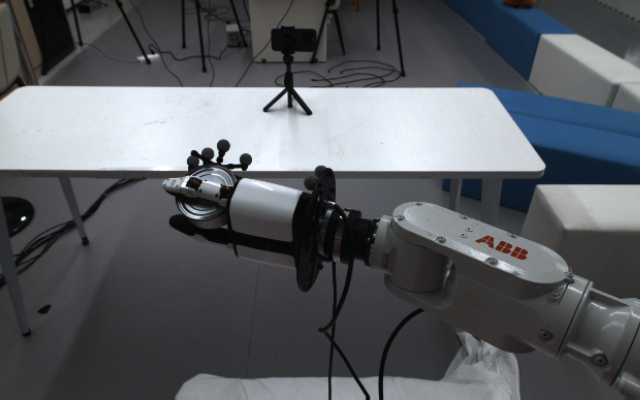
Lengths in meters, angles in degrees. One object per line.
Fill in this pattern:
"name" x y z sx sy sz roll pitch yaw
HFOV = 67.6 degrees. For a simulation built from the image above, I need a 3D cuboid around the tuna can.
"tuna can" -0.148 -0.005 0.651 0.085 0.034 0.085 -6 58 10
